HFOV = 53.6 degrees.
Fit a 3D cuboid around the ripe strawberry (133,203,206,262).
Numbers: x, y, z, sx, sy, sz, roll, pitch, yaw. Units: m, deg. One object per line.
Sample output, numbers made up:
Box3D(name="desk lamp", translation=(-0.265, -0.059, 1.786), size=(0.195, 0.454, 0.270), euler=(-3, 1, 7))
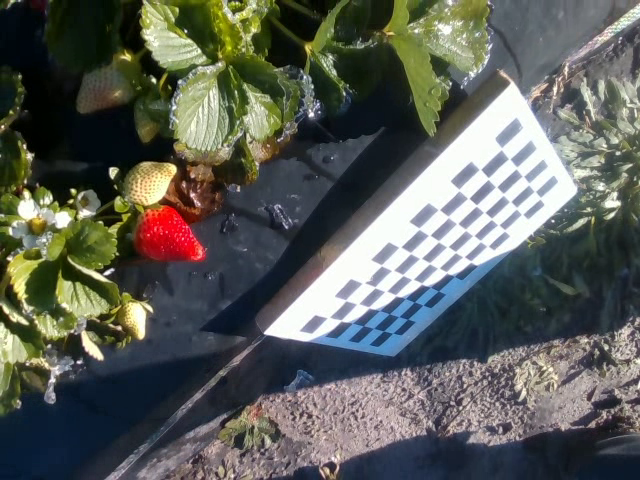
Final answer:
Box3D(name="ripe strawberry", translation=(-0.094, 0.000, 0.397), size=(0.053, 0.040, 0.042), euler=(28, 41, 15))
